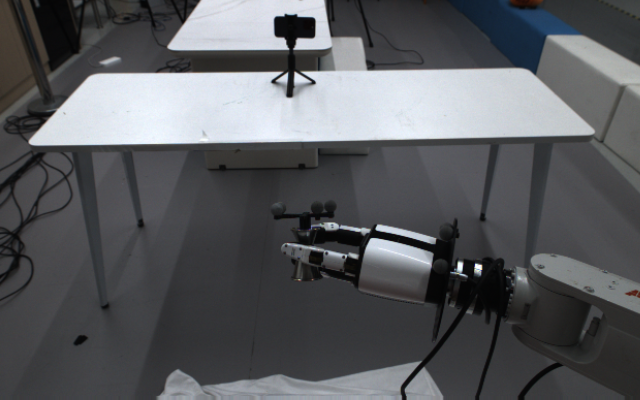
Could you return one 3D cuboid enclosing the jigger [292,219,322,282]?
[{"bbox_3d":[-0.019,0.071,0.651,0.043,0.071,0.043,-2,3,0],"label":"jigger"}]
